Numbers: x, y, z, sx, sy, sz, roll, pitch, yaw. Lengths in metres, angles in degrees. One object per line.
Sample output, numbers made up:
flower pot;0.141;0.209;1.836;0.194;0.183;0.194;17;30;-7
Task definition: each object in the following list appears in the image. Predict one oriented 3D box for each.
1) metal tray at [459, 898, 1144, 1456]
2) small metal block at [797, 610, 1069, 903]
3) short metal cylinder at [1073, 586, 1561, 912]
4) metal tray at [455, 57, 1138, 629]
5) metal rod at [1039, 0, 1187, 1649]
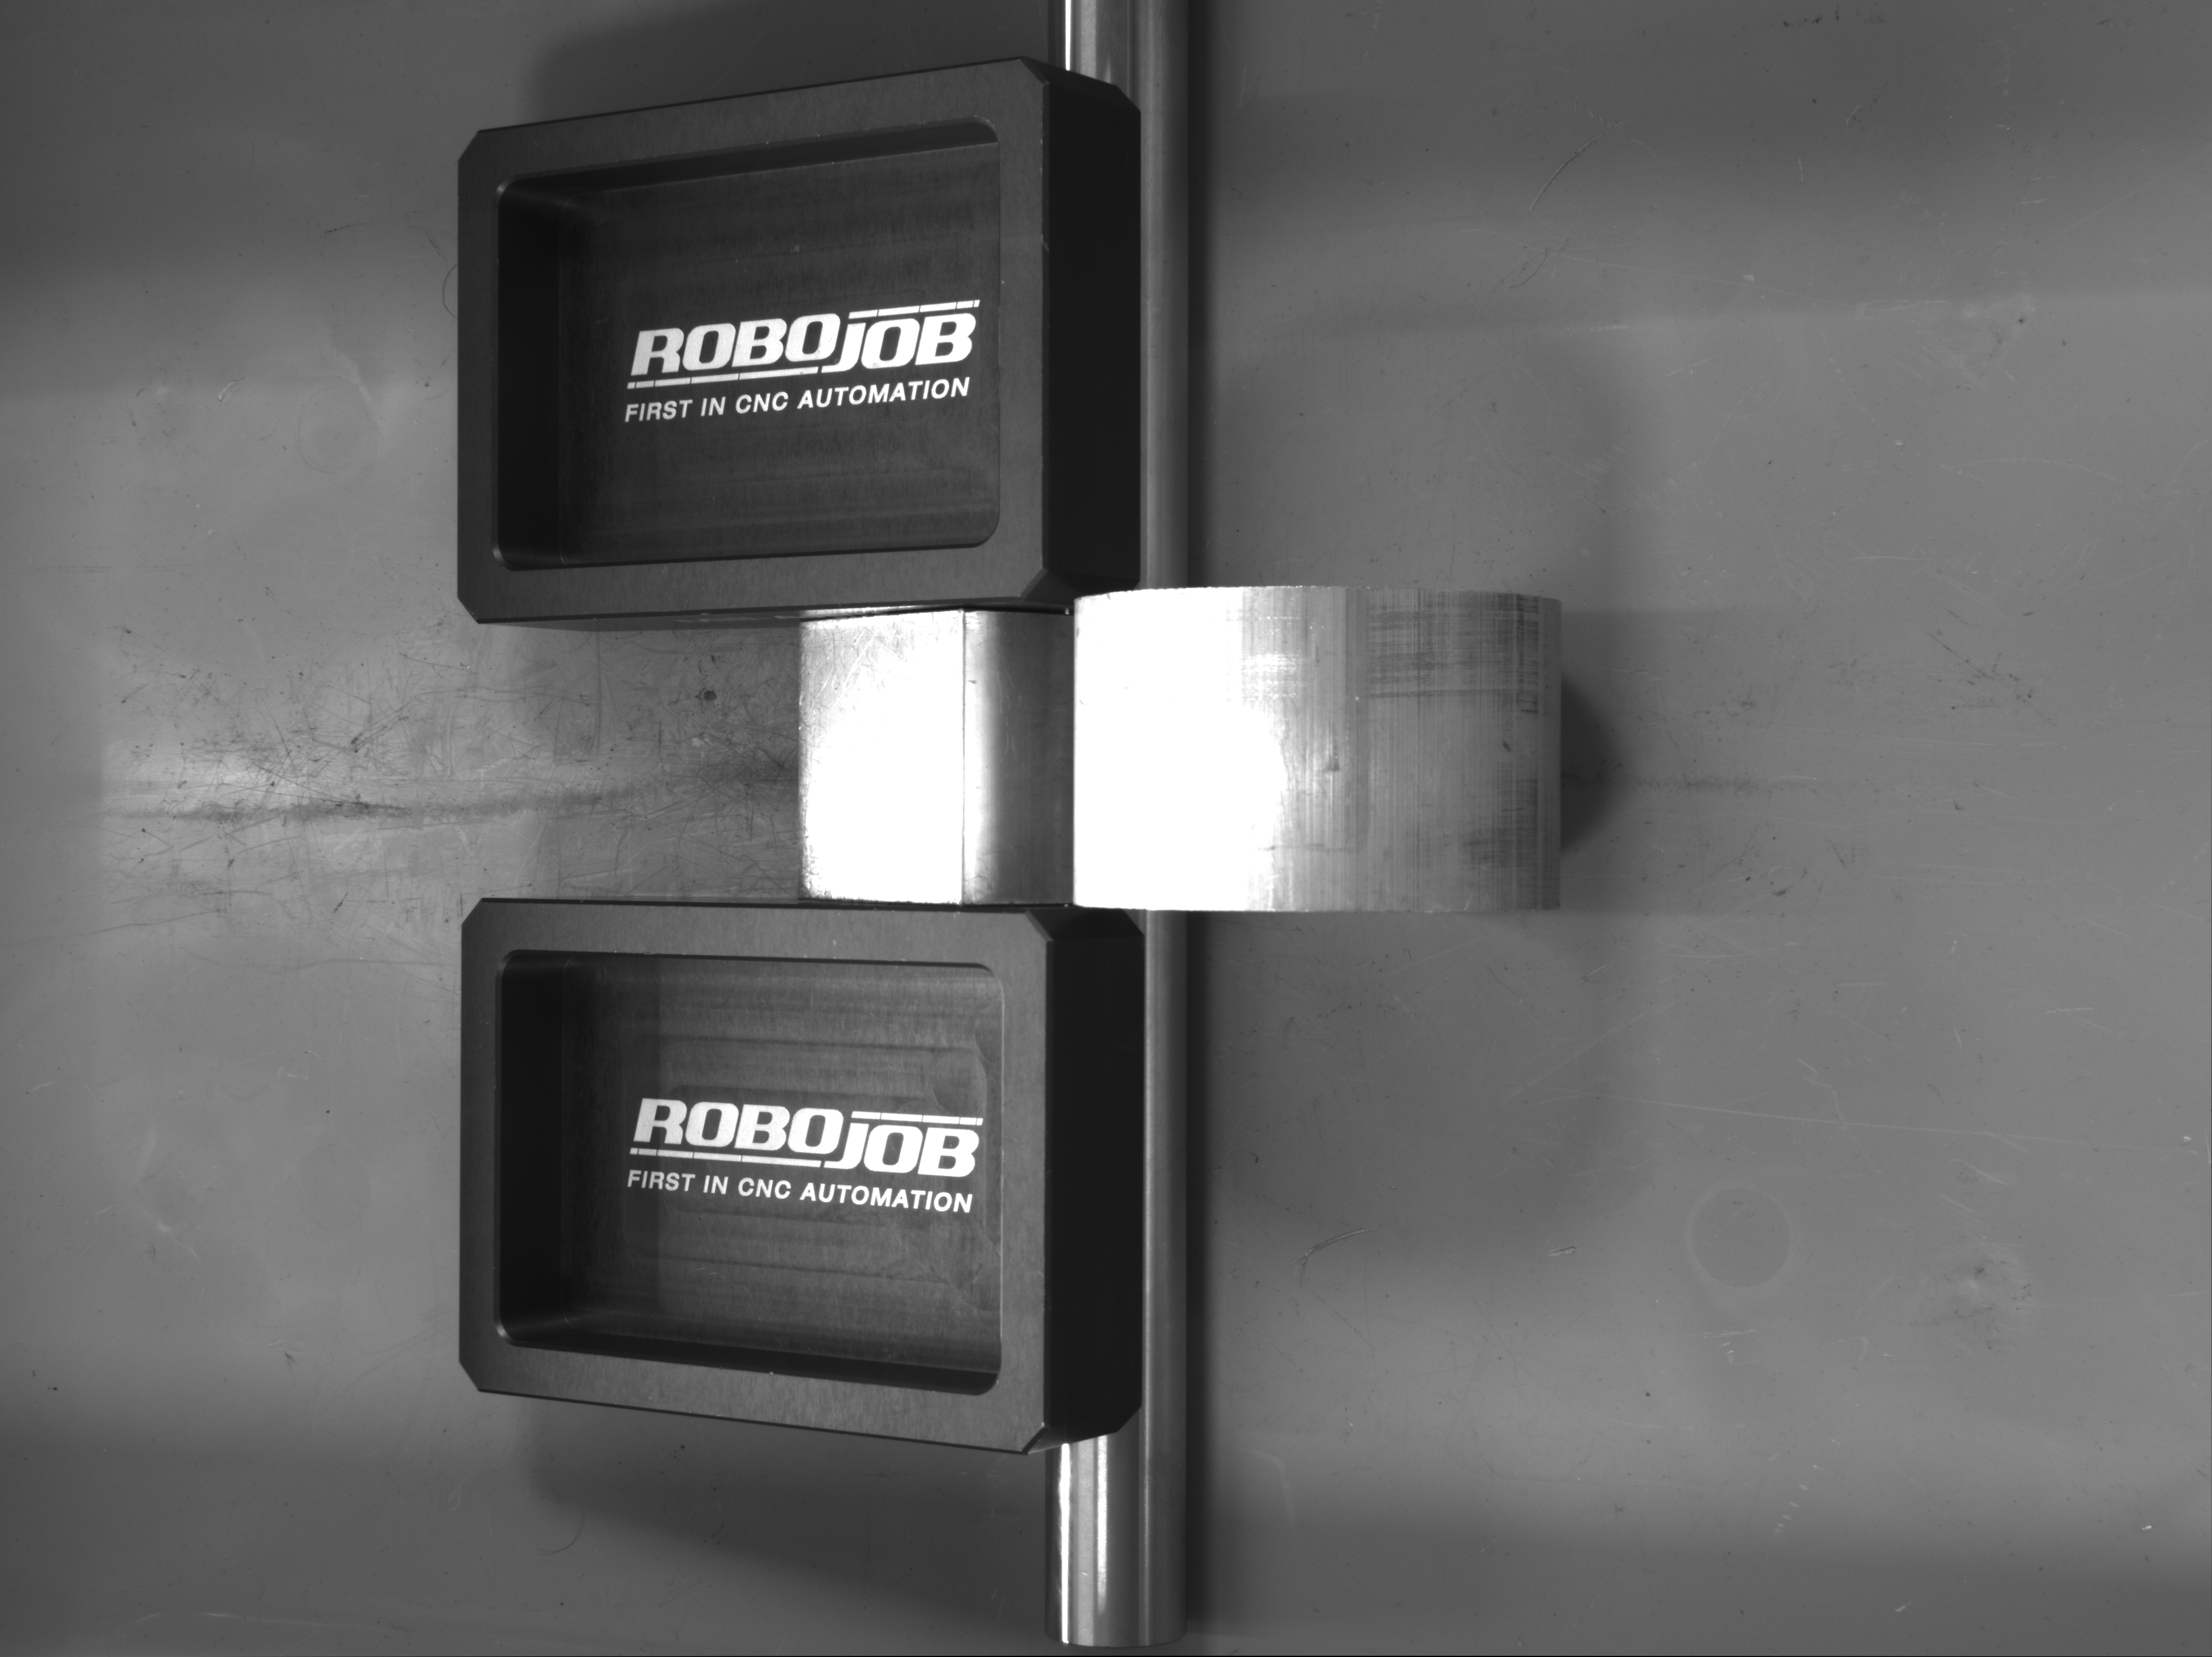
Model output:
metal tray;-0.056;0.058;0.648;0.130;0.030;0.090;0;90;33
small metal block;-0.030;-0.012;0.645;0.050;0.025;0.050;1;90;52
short metal cylinder;0.034;-0.012;0.604;0.080;0.080;0.050;0;90;20
metal tray;-0.057;-0.082;0.649;0.130;0.030;0.090;0;90;33
metal rod;0.001;-0.009;0.644;0.025;0.025;0.300;0;90;20
